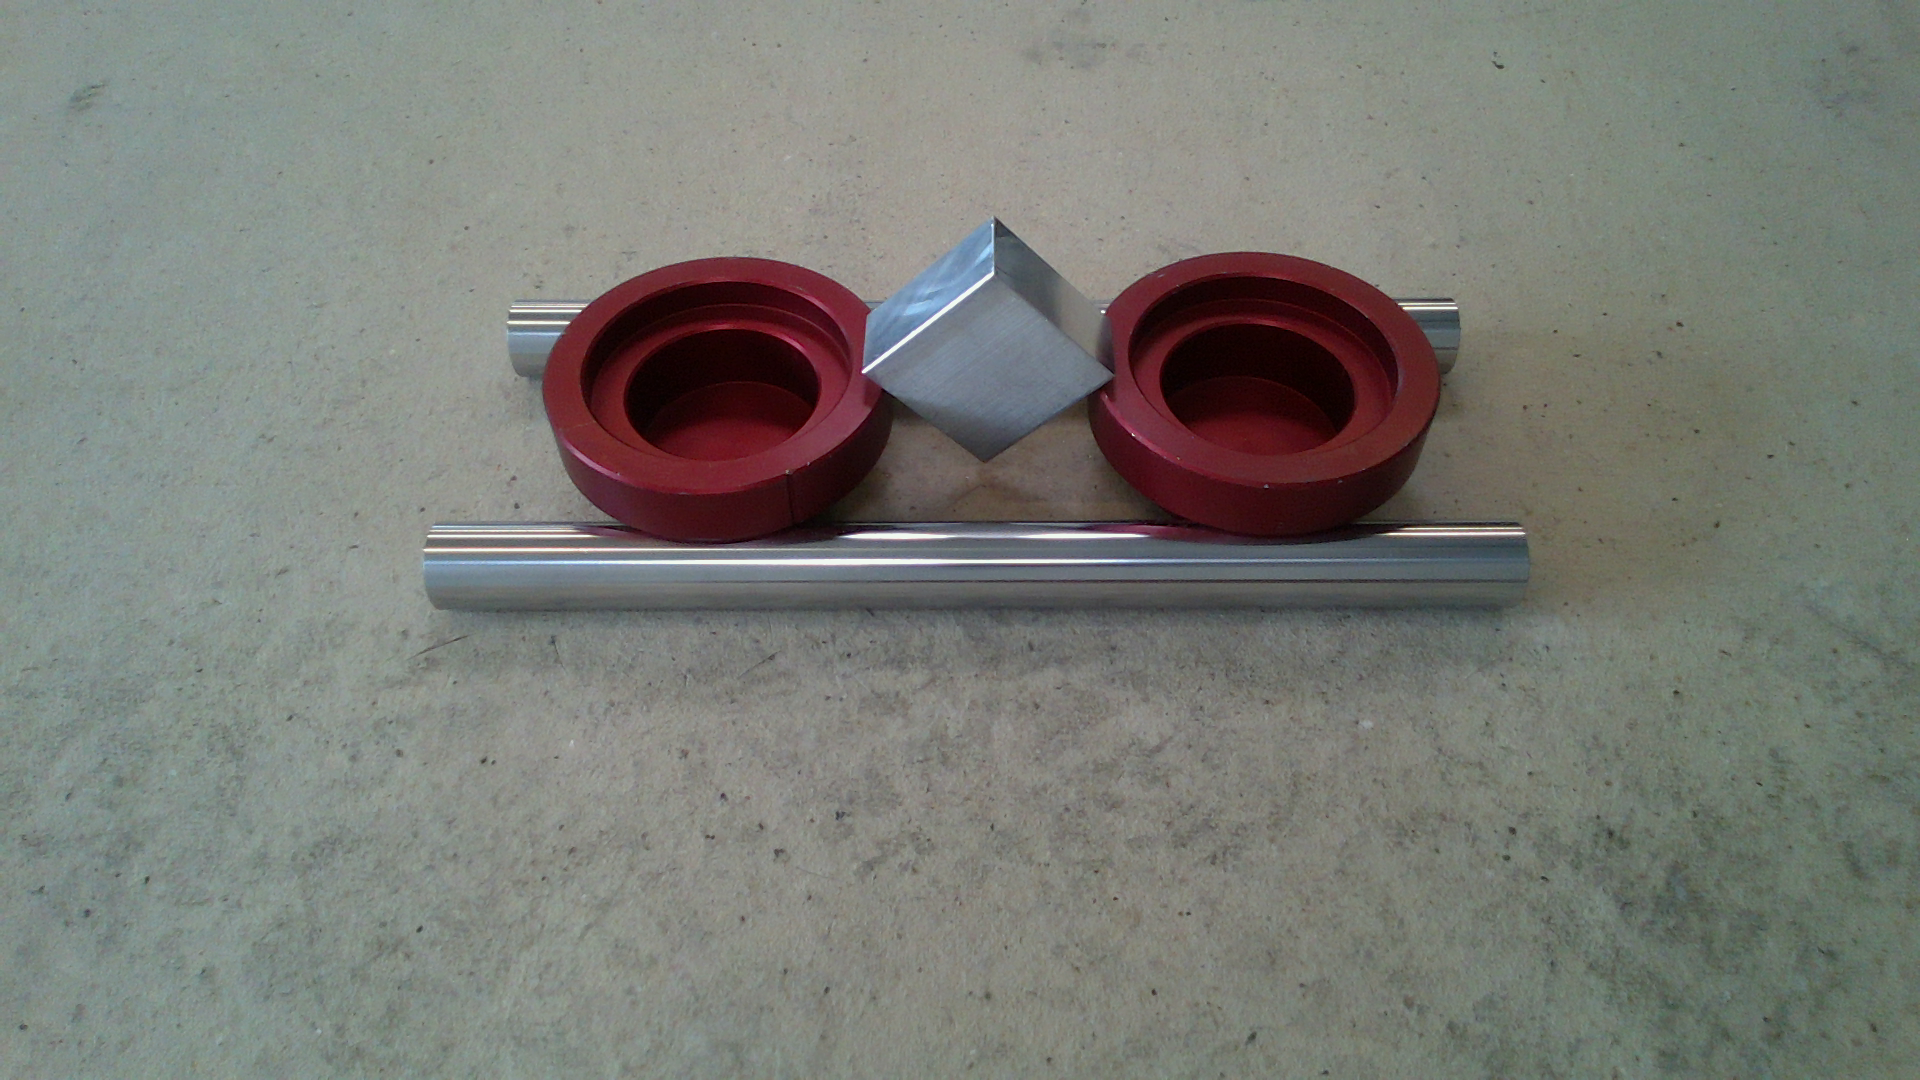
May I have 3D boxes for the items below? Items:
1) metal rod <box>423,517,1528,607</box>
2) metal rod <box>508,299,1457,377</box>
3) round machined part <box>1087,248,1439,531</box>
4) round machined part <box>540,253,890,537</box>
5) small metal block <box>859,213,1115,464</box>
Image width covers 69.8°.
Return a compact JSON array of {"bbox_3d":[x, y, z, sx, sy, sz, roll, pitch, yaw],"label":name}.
[{"bbox_3d":[0.004,0.006,0.386,0.300,0.025,0.025,0,50,0],"label":"metal rod"},{"bbox_3d":[0.007,-0.066,0.447,0.300,0.025,0.025,0,50,0],"label":"metal rod"},{"bbox_3d":[0.086,-0.039,0.407,0.098,0.042,0.098,0,50,0],"label":"round machined part"},{"bbox_3d":[-0.069,-0.038,0.407,0.098,0.042,0.098,0,50,0],"label":"round machined part"},{"bbox_3d":[0.008,-0.055,0.388,0.050,0.050,0.025,-32,40,31],"label":"small metal block"}]
